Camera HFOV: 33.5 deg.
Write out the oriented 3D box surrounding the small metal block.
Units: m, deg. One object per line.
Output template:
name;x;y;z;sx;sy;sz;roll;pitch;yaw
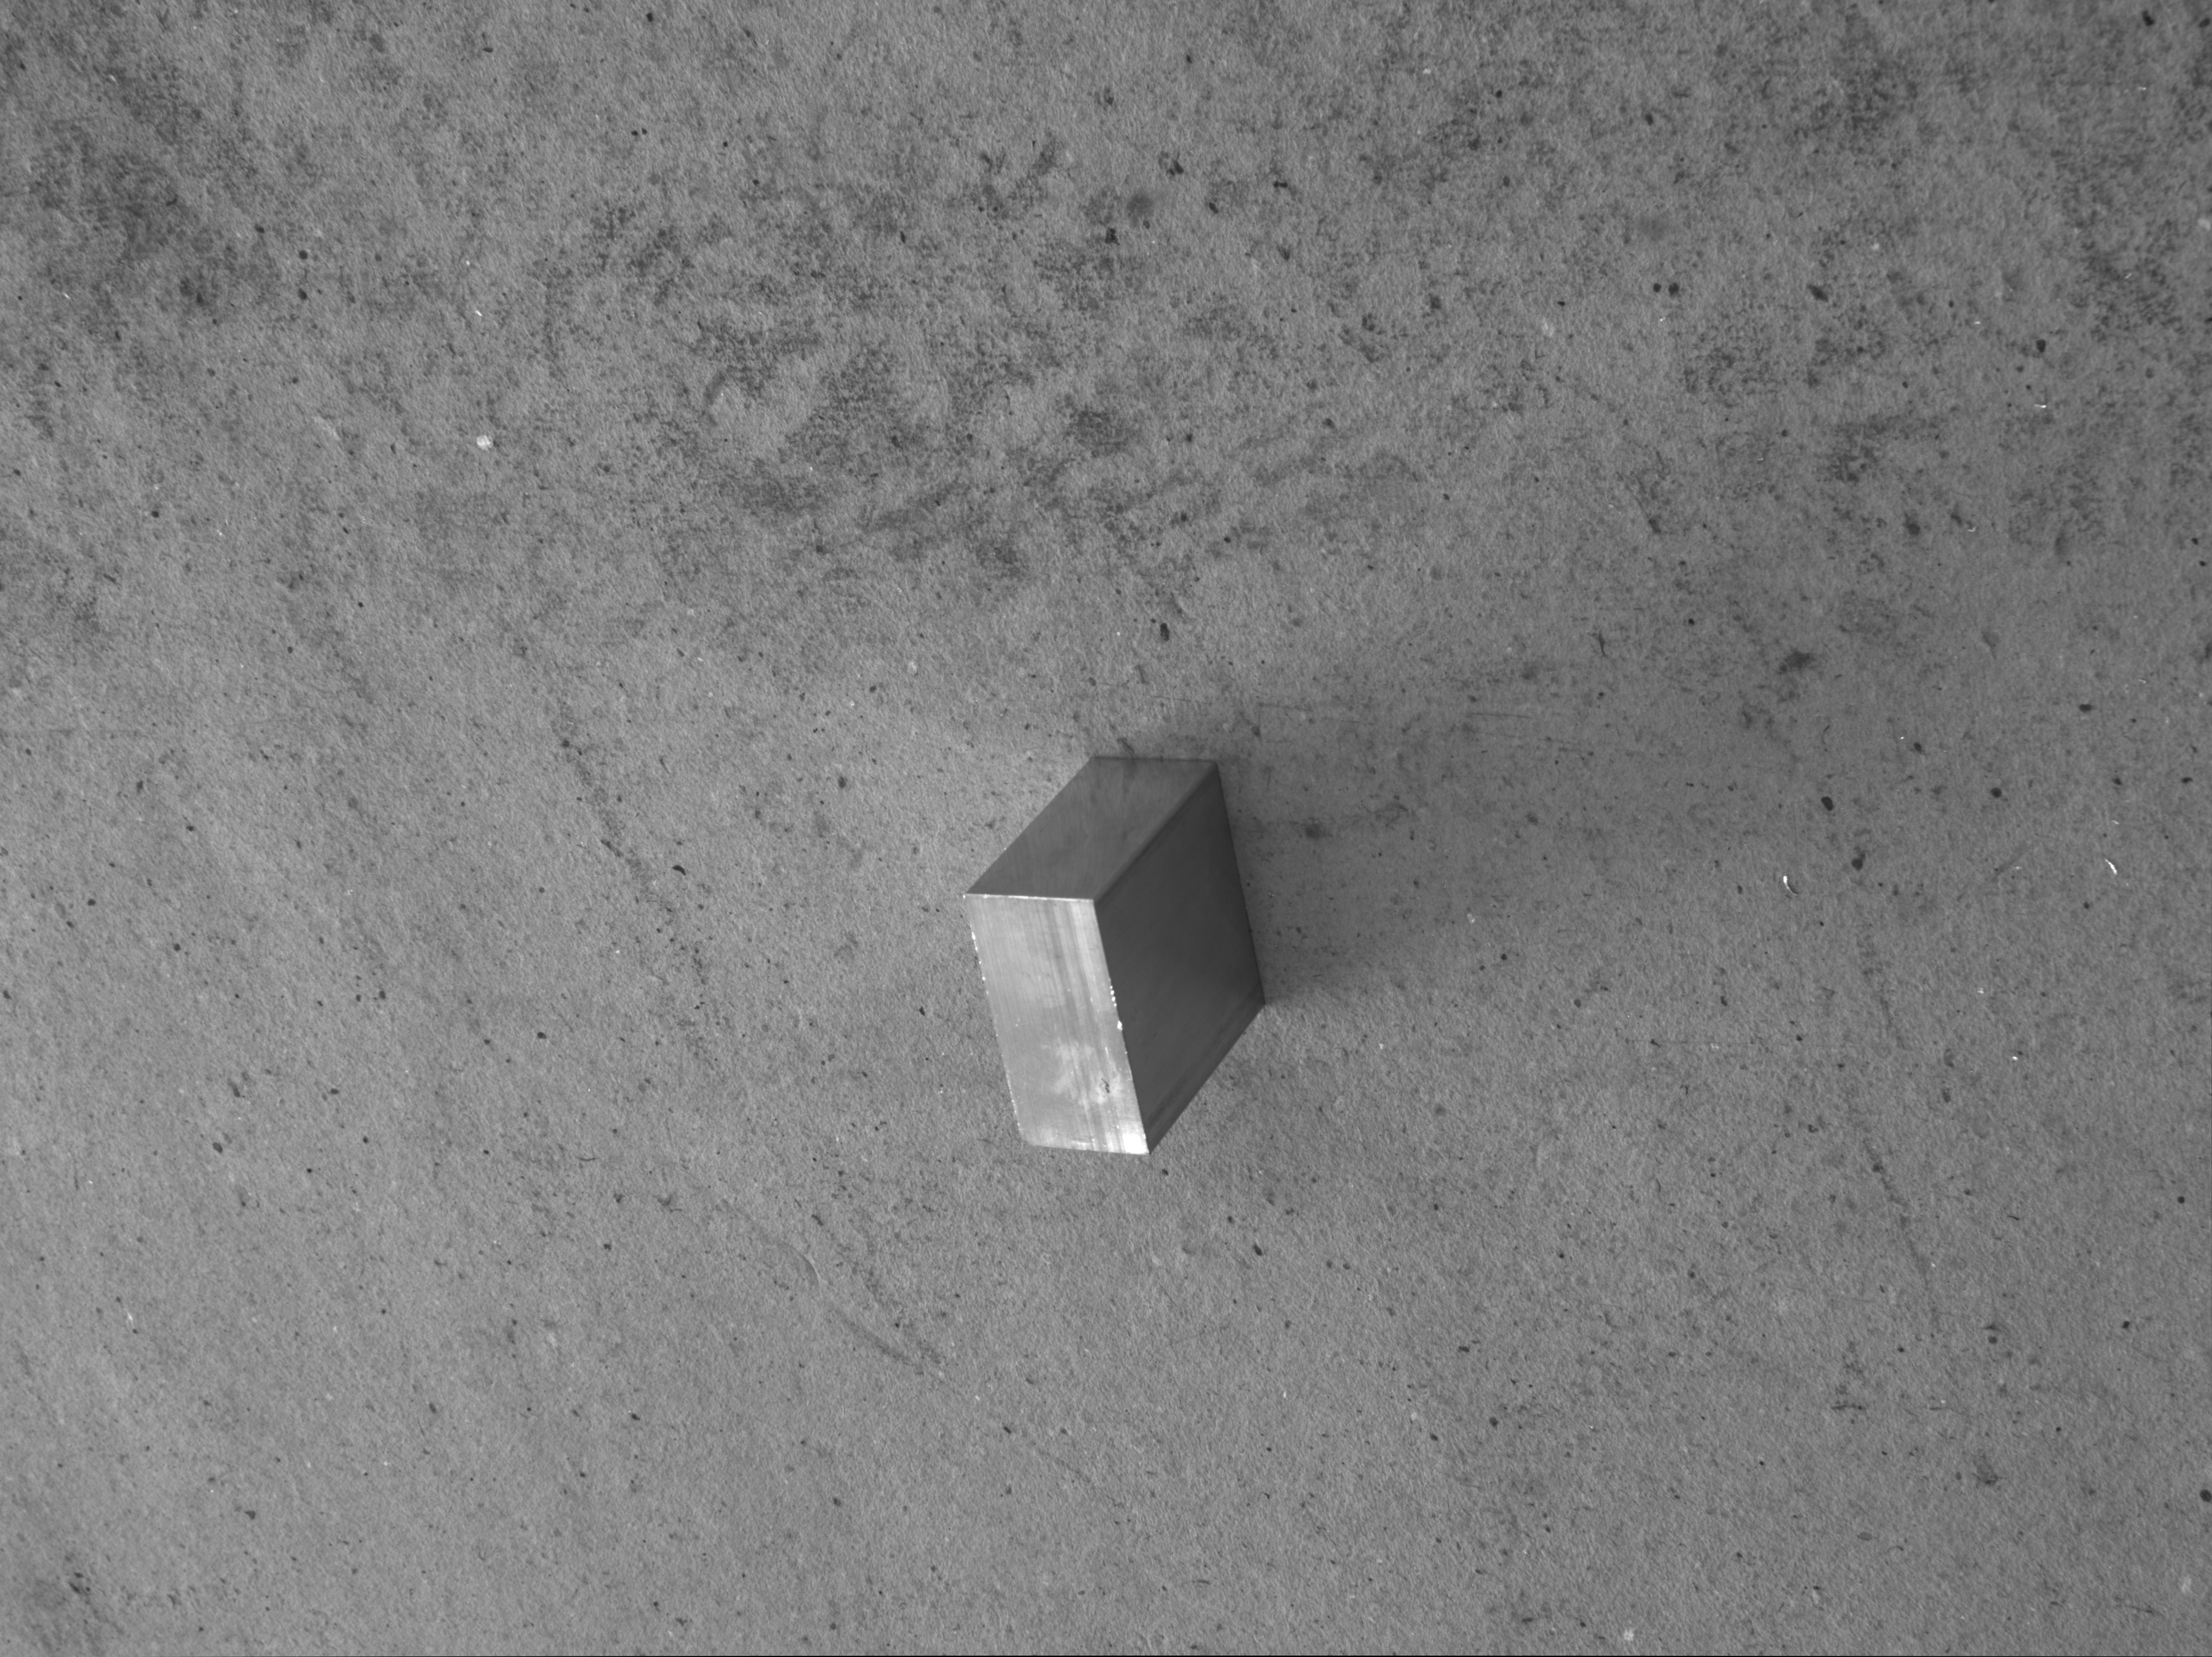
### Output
small metal block;0.002;0.022;0.640;0.025;0.050;0.050;2;119;27
